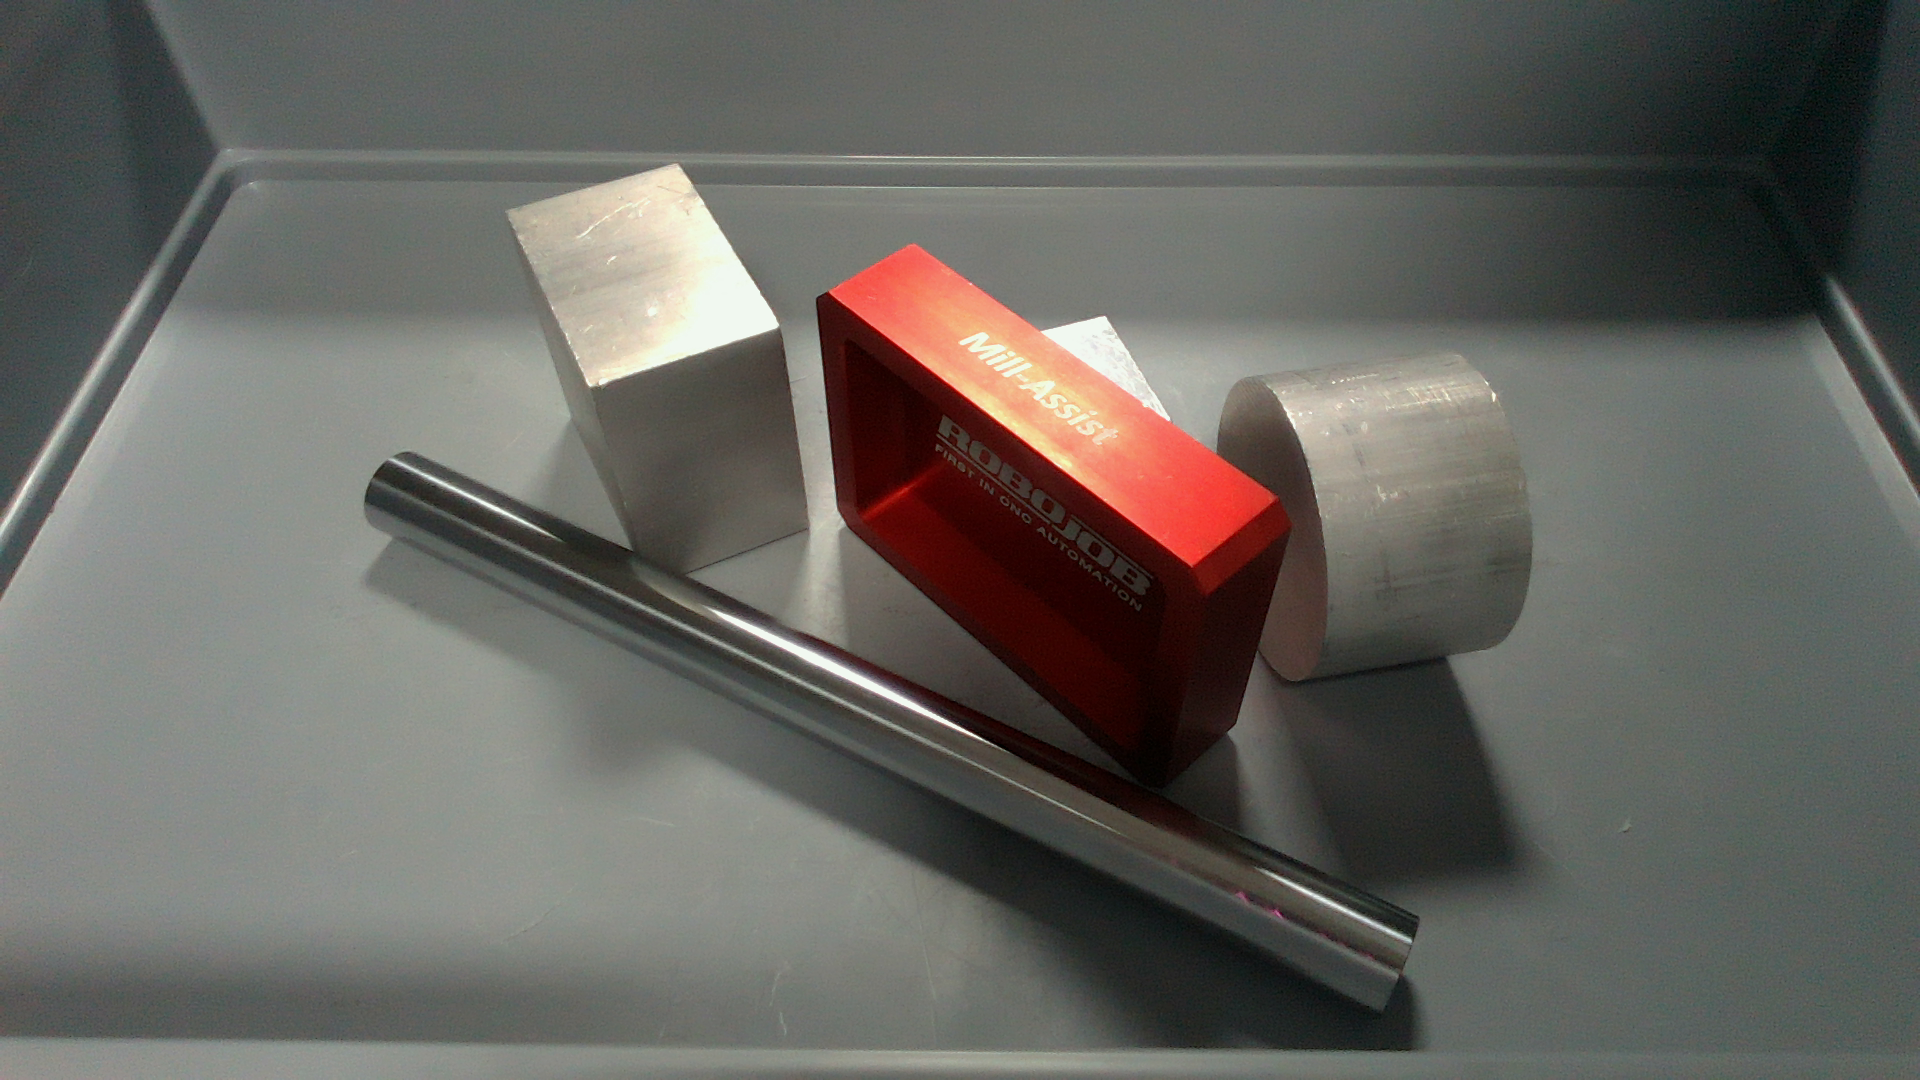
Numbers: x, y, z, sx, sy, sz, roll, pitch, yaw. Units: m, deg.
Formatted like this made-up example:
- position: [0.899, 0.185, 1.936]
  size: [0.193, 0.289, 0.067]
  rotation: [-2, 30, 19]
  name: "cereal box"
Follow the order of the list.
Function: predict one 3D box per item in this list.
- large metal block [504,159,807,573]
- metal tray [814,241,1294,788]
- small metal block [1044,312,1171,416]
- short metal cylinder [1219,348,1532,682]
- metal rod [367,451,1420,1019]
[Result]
- position: [-0.086, -0.048, 0.394]
  size: [0.050, 0.080, 0.080]
  rotation: [-21, 53, -16]
  name: "large metal block"
- position: [0.018, -0.007, 0.353]
  size: [0.030, 0.090, 0.130]
  rotation: [-36, 58, -26]
  name: "metal tray"
- position: [0.030, -0.039, 0.422]
  size: [0.050, 0.025, 0.050]
  rotation: [-16, 52, -13]
  name: "small metal block"
- position: [0.105, -0.007, 0.360]
  size: [0.050, 0.080, 0.080]
  rotation: [-10, 50, -6]
  name: "short metal cylinder"
- position: [-0.032, 0.041, 0.356]
  size: [0.299, 0.025, 0.025]
  rotation: [23, 54, 18]
  name: "metal rod"
